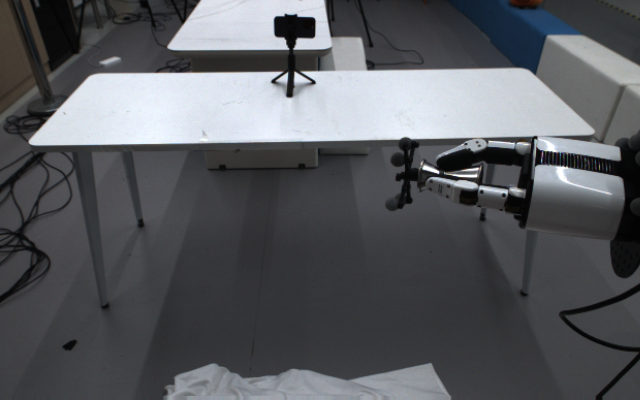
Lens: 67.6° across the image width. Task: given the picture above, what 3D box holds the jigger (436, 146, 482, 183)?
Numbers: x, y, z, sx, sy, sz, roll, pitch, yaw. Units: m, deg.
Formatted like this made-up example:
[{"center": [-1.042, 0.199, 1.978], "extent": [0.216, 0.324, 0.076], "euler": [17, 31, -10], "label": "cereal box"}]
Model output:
[{"center": [0.157, -0.028, 0.562], "extent": [0.071, 0.043, 0.043], "euler": [8, 34, 23], "label": "jigger"}]
